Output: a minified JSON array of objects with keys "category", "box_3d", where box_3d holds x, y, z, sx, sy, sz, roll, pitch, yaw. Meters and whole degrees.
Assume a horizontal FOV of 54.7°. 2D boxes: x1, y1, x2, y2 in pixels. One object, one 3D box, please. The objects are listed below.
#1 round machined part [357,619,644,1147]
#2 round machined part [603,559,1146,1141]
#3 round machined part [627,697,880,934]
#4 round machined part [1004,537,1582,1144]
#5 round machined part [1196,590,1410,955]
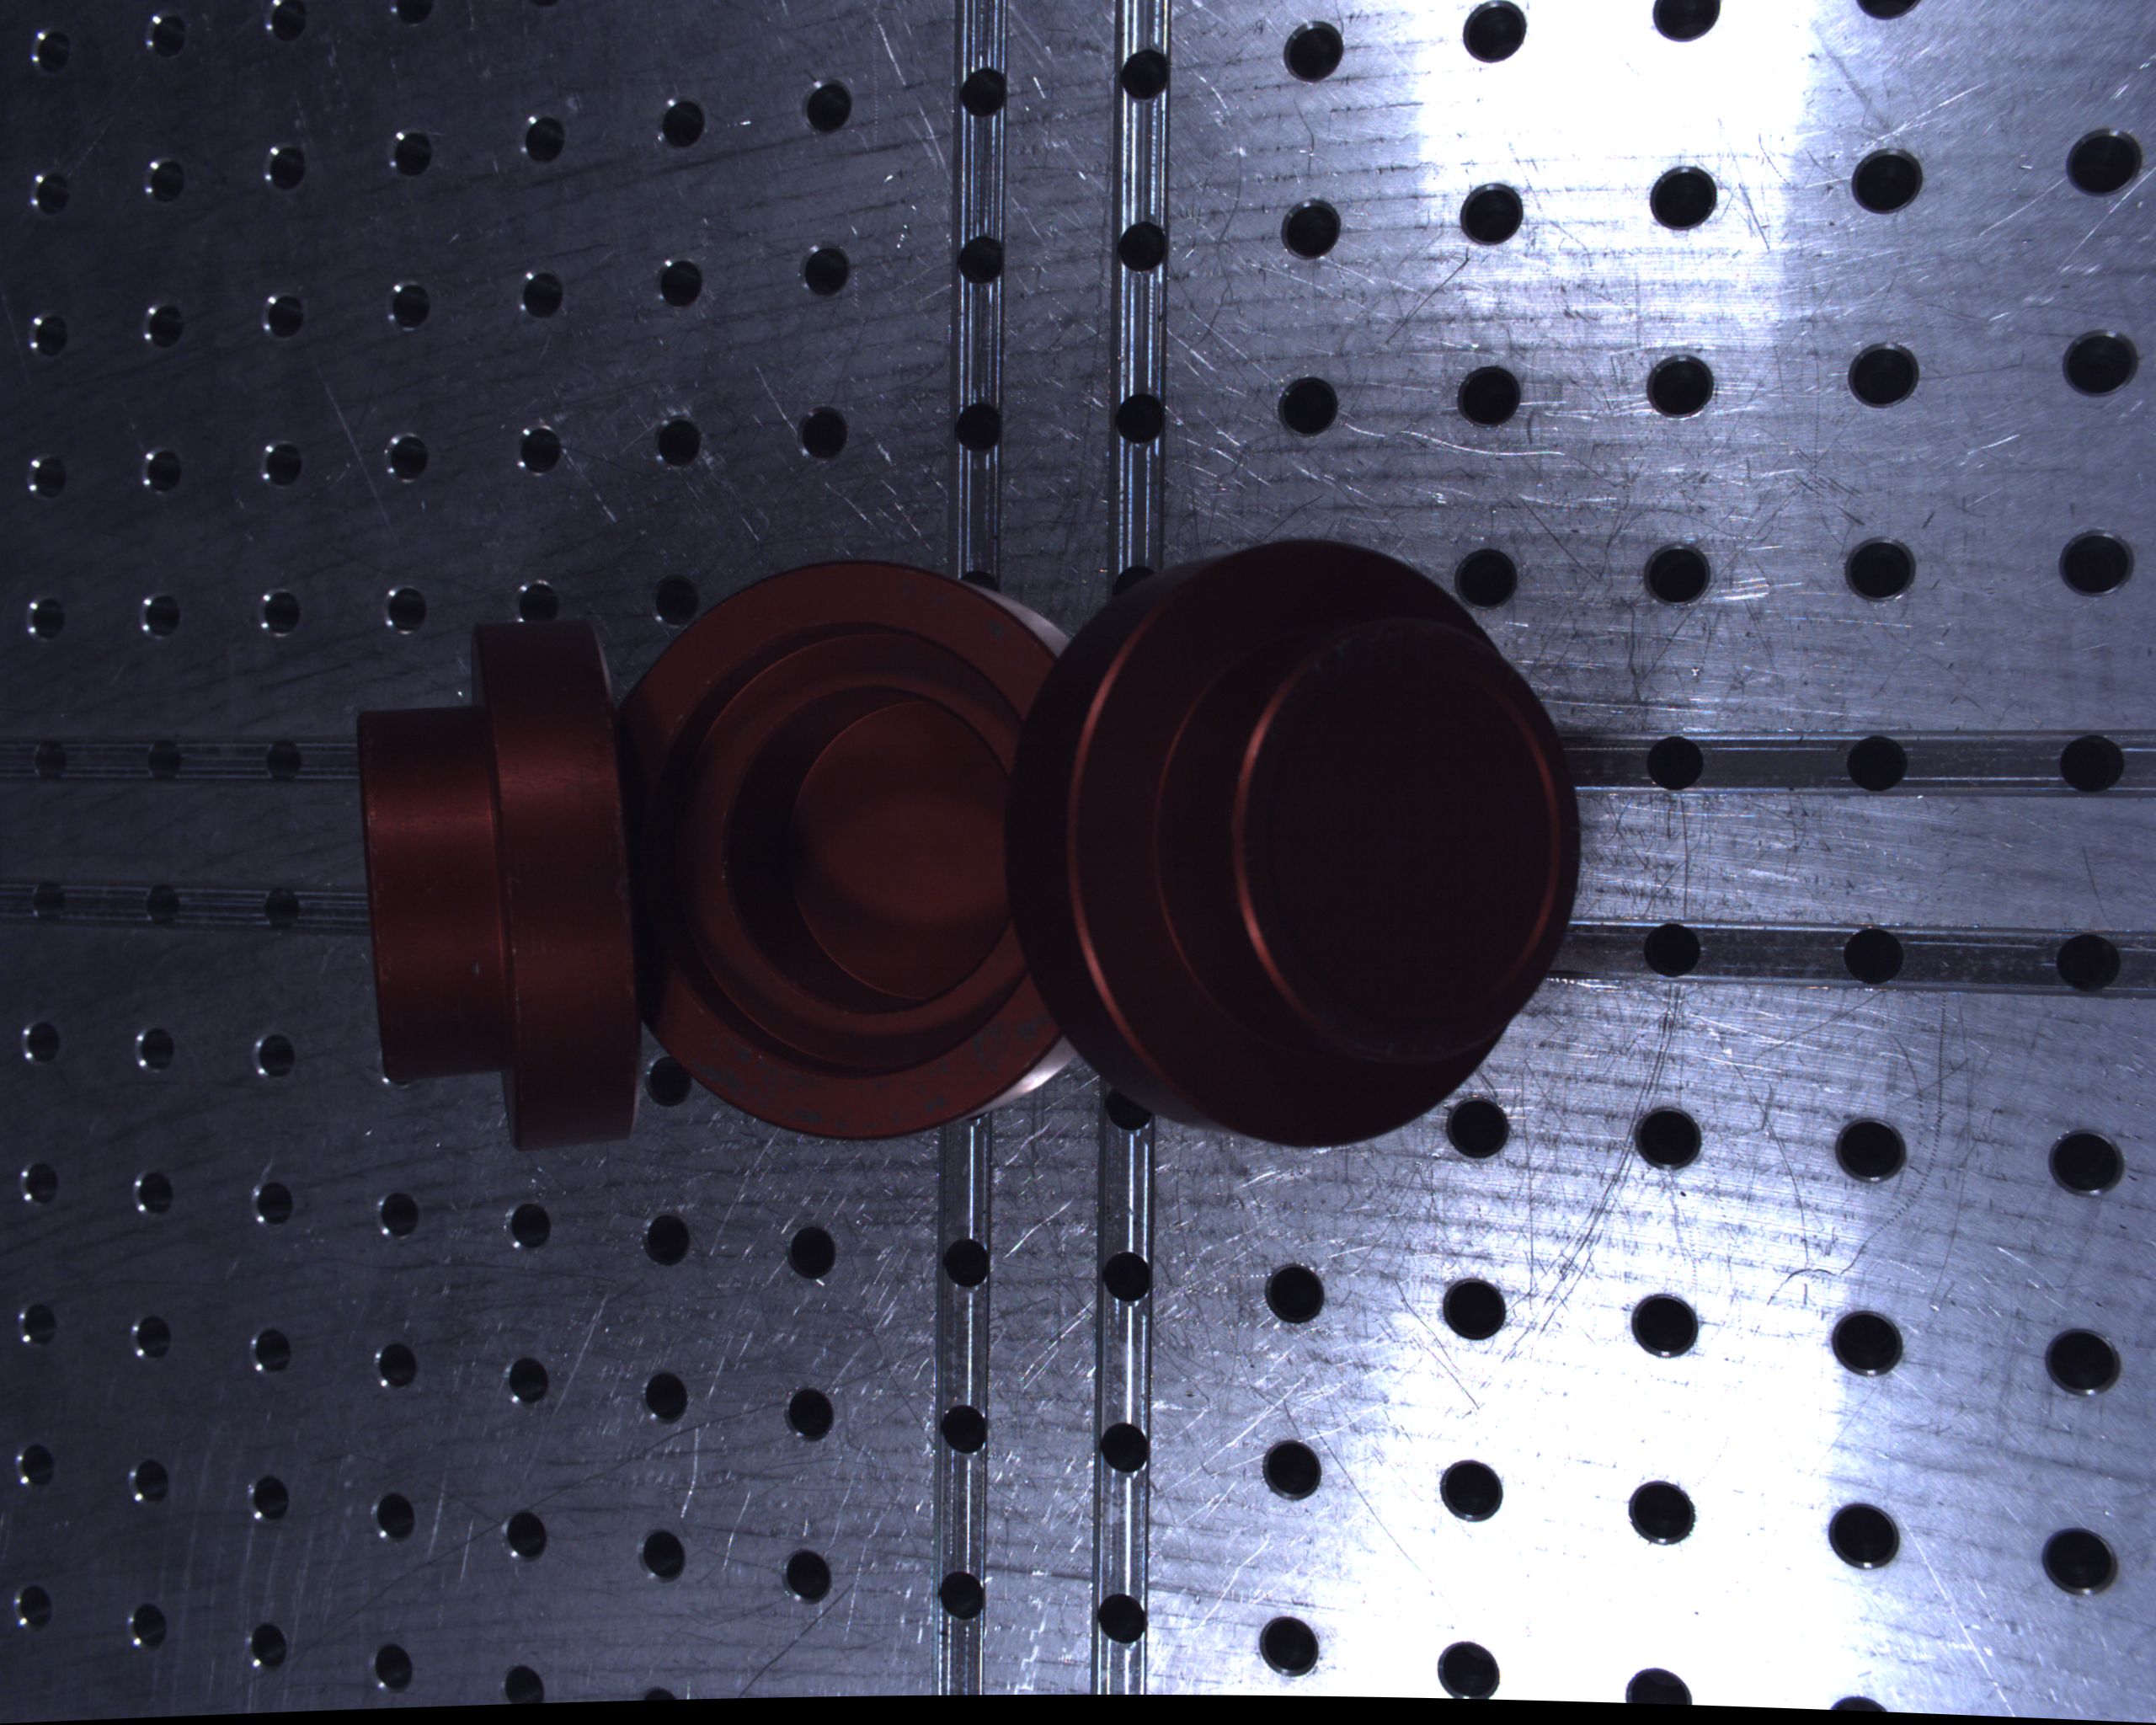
[{"category":"round machined part","box_3d":[-0.108,0.004,0.386,0.042,0.098,0.097,-5,88,-18]},{"category":"round machined part","box_3d":[-0.032,-0.002,0.368,0.098,0.042,0.097,0,90,19]},{"category":"round machined part","box_3d":[-0.059,-0.003,0.423,0.098,0.042,0.097,0,90,19]},{"category":"round machined part","box_3d":[0.041,-0.003,0.334,0.042,0.099,0.097,0,90,60]},{"category":"round machined part","box_3d":[0.034,-0.003,0.391,0.098,0.042,0.097,0,90,19]}]
